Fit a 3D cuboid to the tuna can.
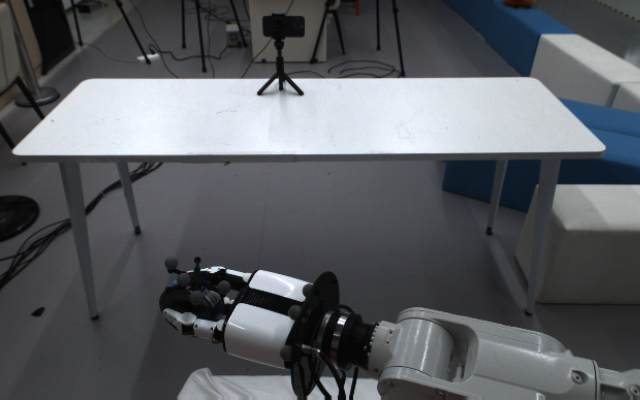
[{"bbox_3d":[-0.174,0.148,0.669,0.085,0.085,0.034,13,30,15],"label":"tuna can"}]
